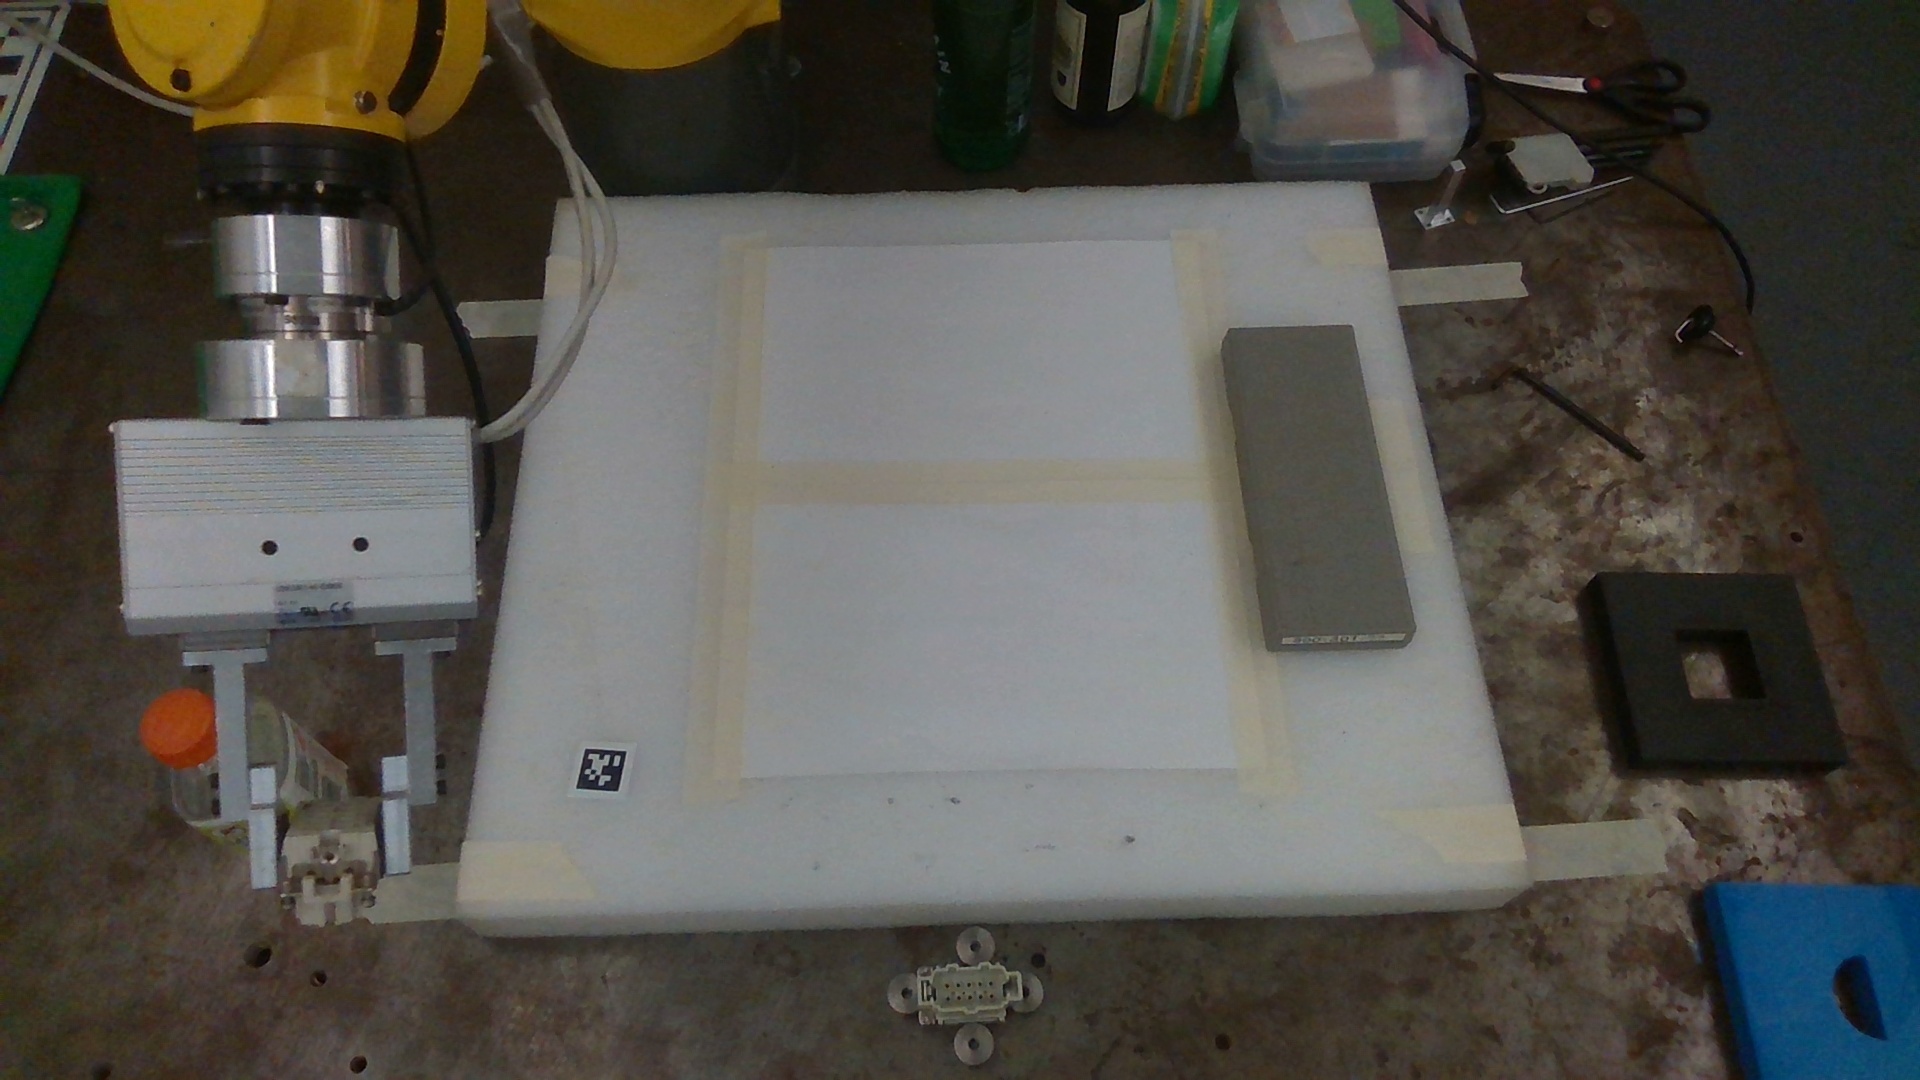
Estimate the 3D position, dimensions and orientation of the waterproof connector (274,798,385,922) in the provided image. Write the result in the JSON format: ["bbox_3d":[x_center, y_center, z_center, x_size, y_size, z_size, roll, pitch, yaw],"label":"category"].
[{"bbox_3d":[-0.274,0.139,0.606,0.036,0.069,0.038,-3,99,-16],"label":"waterproof connector"}]
